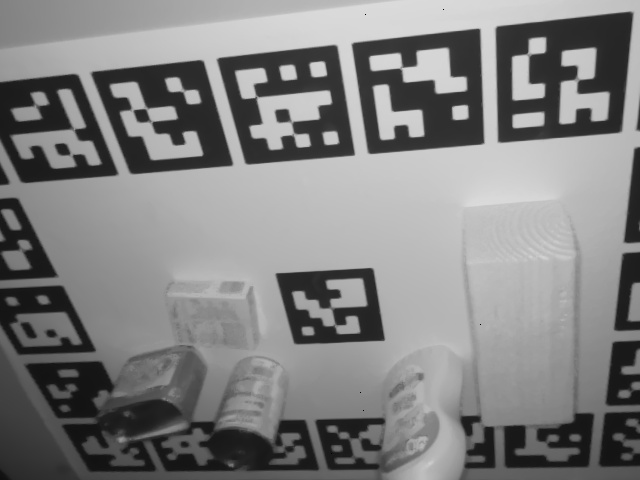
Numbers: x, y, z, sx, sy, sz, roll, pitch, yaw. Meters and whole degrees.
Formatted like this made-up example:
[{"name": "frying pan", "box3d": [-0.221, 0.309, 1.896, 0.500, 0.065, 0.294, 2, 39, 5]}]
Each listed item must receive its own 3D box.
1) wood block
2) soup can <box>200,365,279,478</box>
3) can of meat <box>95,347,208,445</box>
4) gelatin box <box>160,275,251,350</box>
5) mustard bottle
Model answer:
[{"name": "wood block", "box3d": [0.189, 0.074, 0.656, 0.090, 0.091, 0.205, -2, 128, 10]}, {"name": "soup can", "box3d": [-0.084, 0.193, 0.747, 0.068, 0.103, 0.067, 3, 123, 5]}, {"name": "can of meat", "box3d": [-0.181, 0.170, 0.764, 0.101, 0.084, 0.057, -15, 121, 19]}, {"name": "gelatin box", "box3d": [-0.117, 0.076, 0.720, 0.089, 0.030, 0.072, 3, 123, 1]}, {"name": "mustard bottle", "box3d": [0.103, 0.193, 0.690, 0.095, 0.193, 0.058, -26, 118, 24]}]
